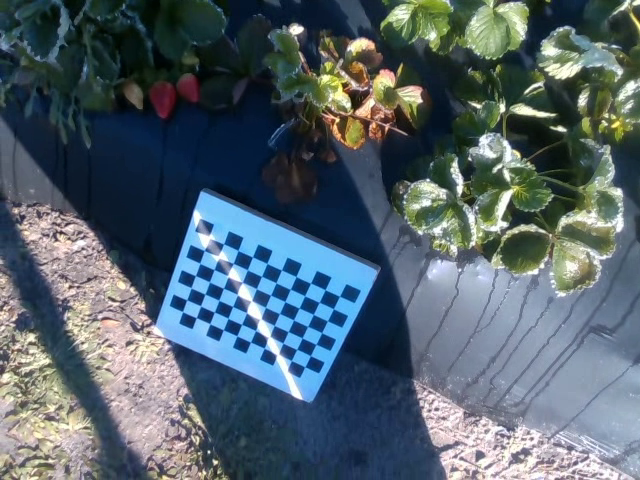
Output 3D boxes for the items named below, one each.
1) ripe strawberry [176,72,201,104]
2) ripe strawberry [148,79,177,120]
[{"bbox_3d":[-0.169,-0.199,0.837,0.036,0.041,0.030,-36,6,22],"label":"ripe strawberry"},{"bbox_3d":[-0.203,-0.179,0.834,0.036,0.052,0.039,-12,-18,15],"label":"ripe strawberry"}]
